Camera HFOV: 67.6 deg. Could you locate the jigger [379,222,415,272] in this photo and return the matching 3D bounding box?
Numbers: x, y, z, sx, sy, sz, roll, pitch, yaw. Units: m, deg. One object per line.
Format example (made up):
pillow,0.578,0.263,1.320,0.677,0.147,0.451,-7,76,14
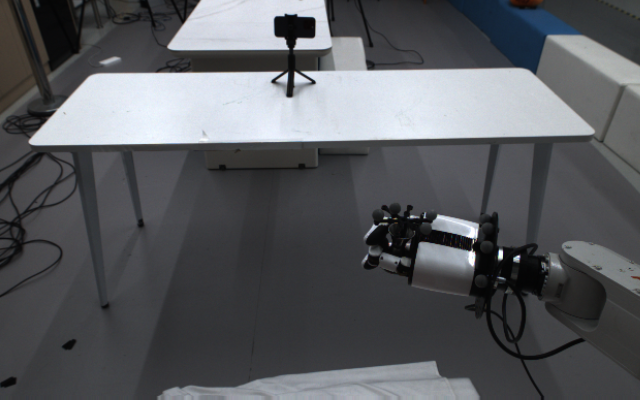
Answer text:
jigger,0.122,0.071,0.739,0.043,0.071,0.043,4,31,-2
